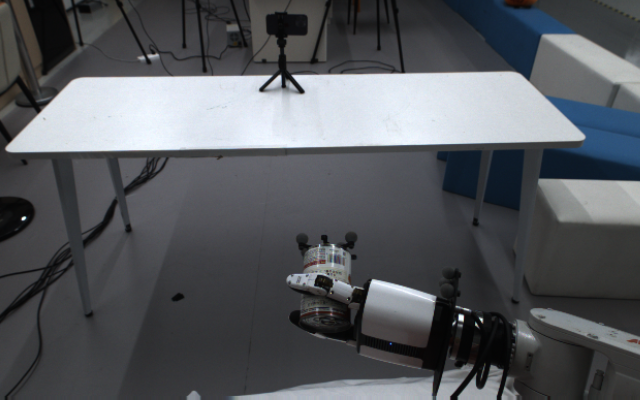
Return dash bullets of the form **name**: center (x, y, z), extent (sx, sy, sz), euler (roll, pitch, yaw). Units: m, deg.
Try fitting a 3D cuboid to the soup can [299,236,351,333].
- **soup can**: center (0.009, 0.118, 0.647), extent (0.067, 0.067, 0.101), euler (3, 56, 1)
